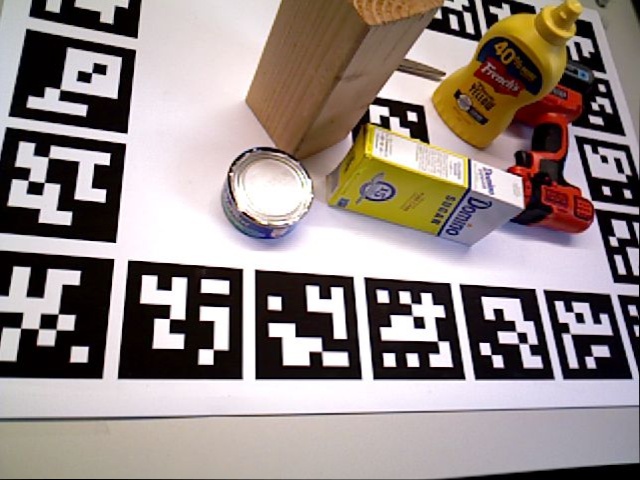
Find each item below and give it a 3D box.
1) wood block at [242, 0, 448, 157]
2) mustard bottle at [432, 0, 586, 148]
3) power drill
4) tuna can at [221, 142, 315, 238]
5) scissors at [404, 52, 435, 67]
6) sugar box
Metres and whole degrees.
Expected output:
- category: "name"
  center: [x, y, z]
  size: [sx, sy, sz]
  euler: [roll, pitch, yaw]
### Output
- category: "wood block"
  center: [0.008, -0.170, 0.499]
  size: [0.089, 0.210, 0.090]
  euler: [-26, 81, -28]
- category: "mustard bottle"
  center: [0.208, -0.186, 0.589]
  size: [0.057, 0.195, 0.096]
  euler: [-39, 87, -29]
- category: "power drill"
  center: [0.234, -0.112, 0.639]
  size: [0.183, 0.058, 0.185]
  euler: [17, 72, -14]
- category: "tuna can"
  center: [-0.050, -0.046, 0.514]
  size: [0.085, 0.034, 0.085]
  euler: [7, 68, -19]
- category: "scissors"
  center: [0.047, -0.225, 0.634]
  size: [0.200, 0.016, 0.087]
  euler: [7, 64, -18]
- category: "sugar box"
  center: [0.112, -0.049, 0.549]
  size: [0.175, 0.095, 0.044]
  euler: [17, 60, -16]
